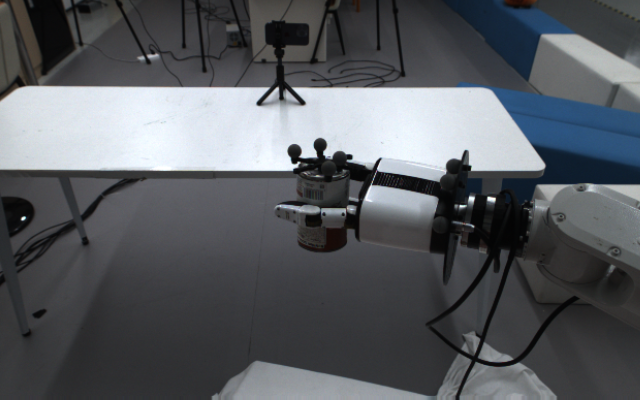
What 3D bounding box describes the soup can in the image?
[{"bbox_3d":[0.005,0.007,0.614,0.067,0.101,0.067,1,25,0],"label":"soup can"}]
